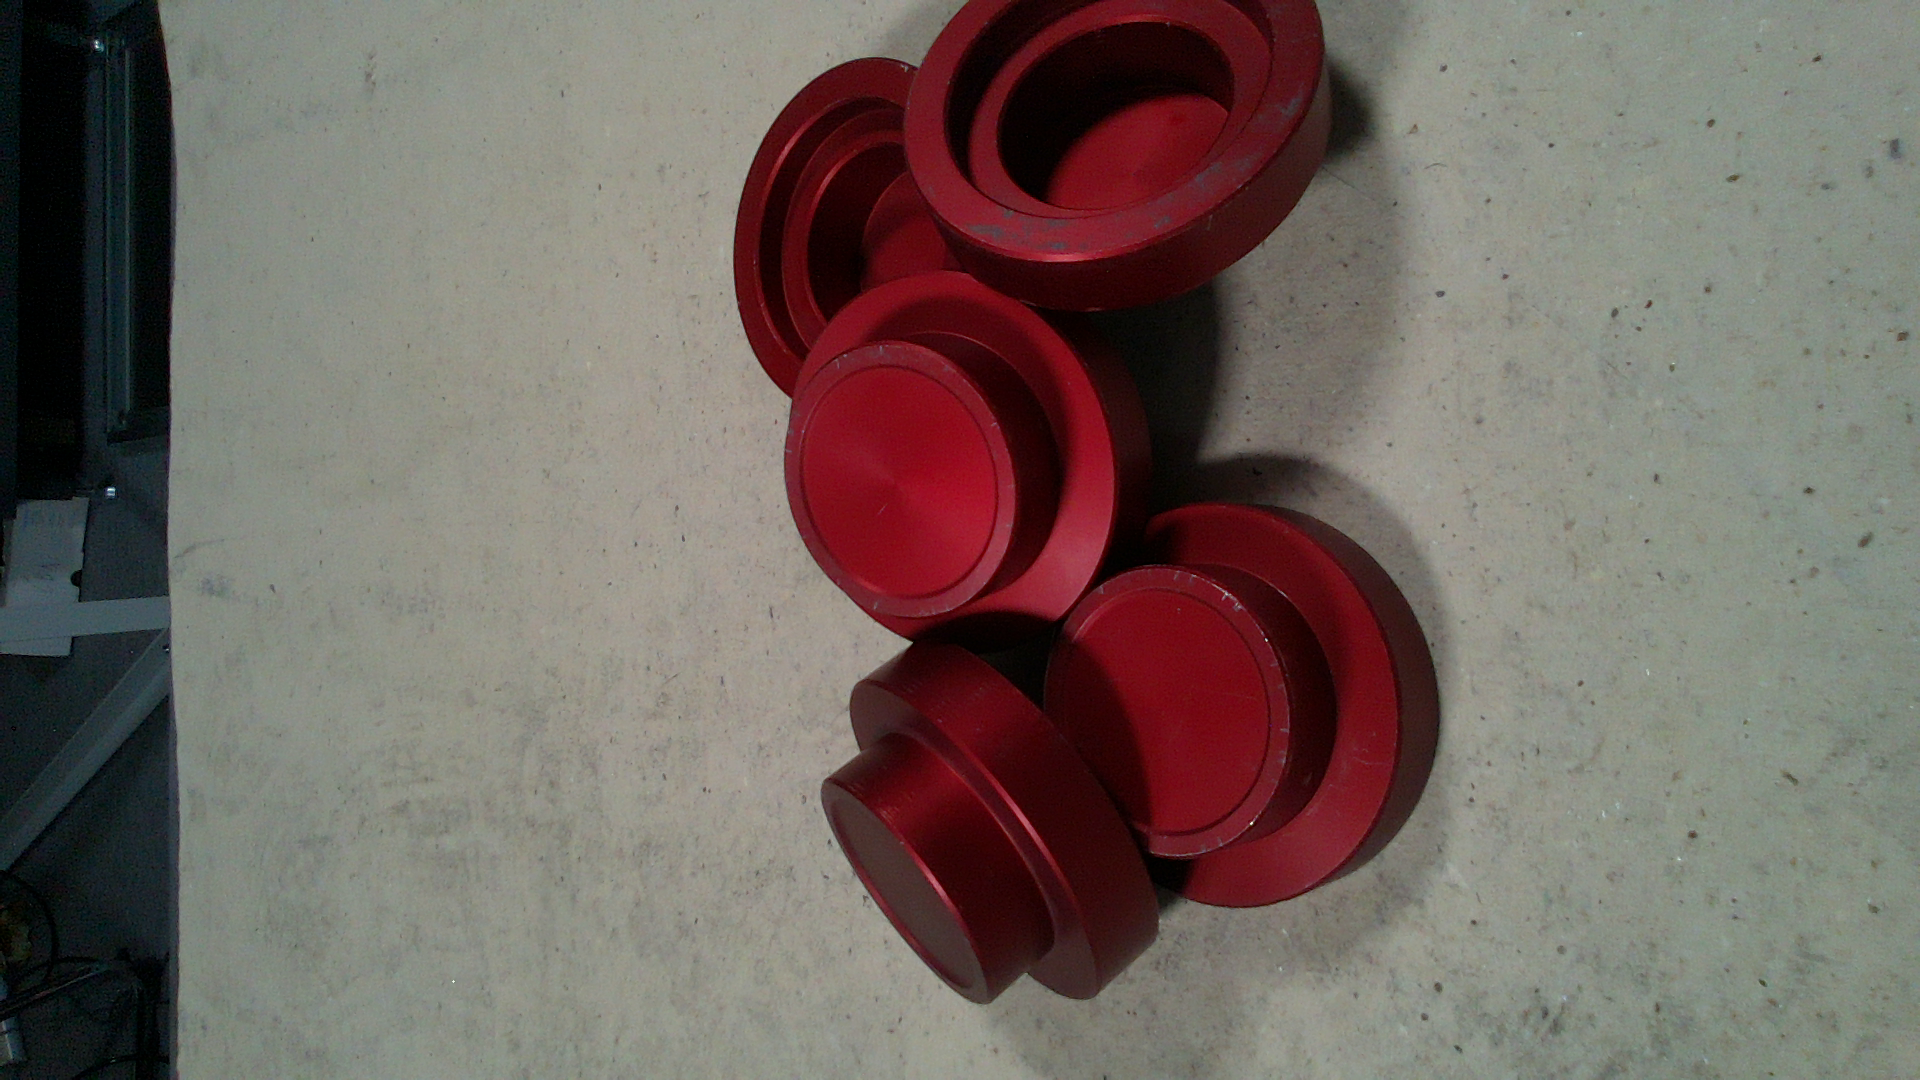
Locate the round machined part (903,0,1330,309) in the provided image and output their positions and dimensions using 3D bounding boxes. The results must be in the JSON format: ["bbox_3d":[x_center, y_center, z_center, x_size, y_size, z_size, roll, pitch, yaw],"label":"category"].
[{"bbox_3d":[0.039,-0.097,0.333,0.098,0.042,0.098,-9,62,17],"label":"round machined part"}]

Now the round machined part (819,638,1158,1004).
[{"bbox_3d":[0.001,0.077,0.350,0.098,0.042,0.098,43,155,27],"label":"round machined part"}]

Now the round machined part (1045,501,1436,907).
[{"bbox_3d":[0.060,0.040,0.333,0.098,0.042,0.098,0,90,40],"label":"round machined part"}]

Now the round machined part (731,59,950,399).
[{"bbox_3d":[-0.019,-0.084,0.399,0.098,0.042,0.098,0,90,40],"label":"round machined part"}]

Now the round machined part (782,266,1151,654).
[{"bbox_3d":[-0.005,-0.019,0.345,0.098,0.042,0.098,7,104,31],"label":"round machined part"}]
